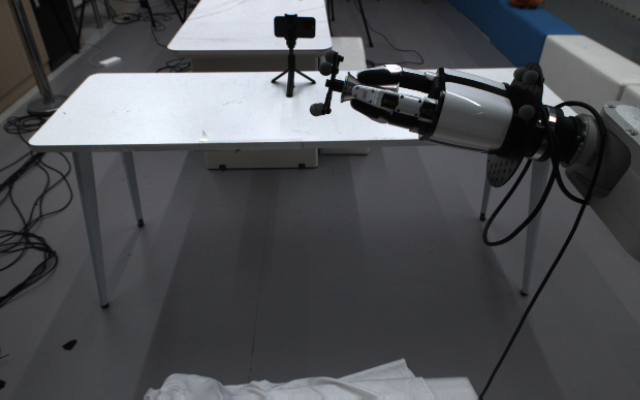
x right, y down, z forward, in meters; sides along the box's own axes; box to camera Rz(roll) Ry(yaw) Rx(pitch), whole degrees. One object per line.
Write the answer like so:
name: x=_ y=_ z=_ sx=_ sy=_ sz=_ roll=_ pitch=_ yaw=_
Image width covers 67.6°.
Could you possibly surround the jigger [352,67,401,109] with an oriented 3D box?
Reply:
jigger: x=0.070 y=-0.140 z=0.625 sx=0.071 sy=0.043 sz=0.043 roll=14 pitch=36 yaw=4
